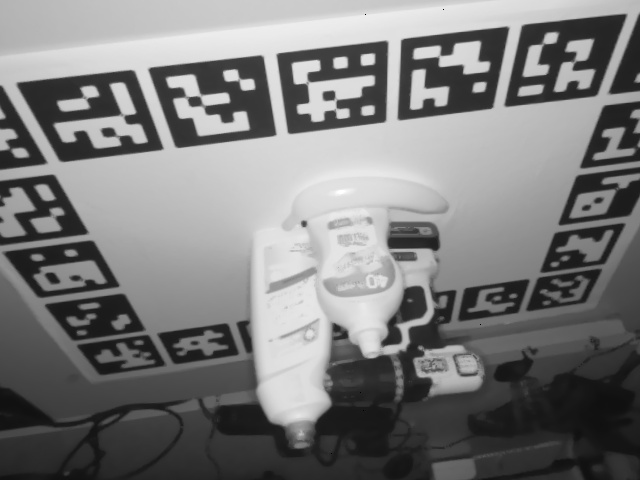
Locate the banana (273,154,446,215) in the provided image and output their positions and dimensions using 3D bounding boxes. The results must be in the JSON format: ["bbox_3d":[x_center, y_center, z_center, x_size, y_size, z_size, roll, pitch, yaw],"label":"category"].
[{"bbox_3d":[0.046,-0.063,0.767,0.199,0.039,0.073,-4,138,-9],"label":"banana"}]

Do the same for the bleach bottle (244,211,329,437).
[{"bbox_3d":[-0.029,0.086,0.753,0.103,0.252,0.067,-4,144,-6],"label":"bleach bottle"}]

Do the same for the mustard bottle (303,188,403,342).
[{"bbox_3d":[0.036,0.023,0.731,0.096,0.192,0.058,-5,139,-3],"label":"mustard bottle"}]

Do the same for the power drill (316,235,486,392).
[{"bbox_3d":[0.081,0.080,0.774,0.186,0.188,0.056,3,139,-12],"label":"power drill"}]
